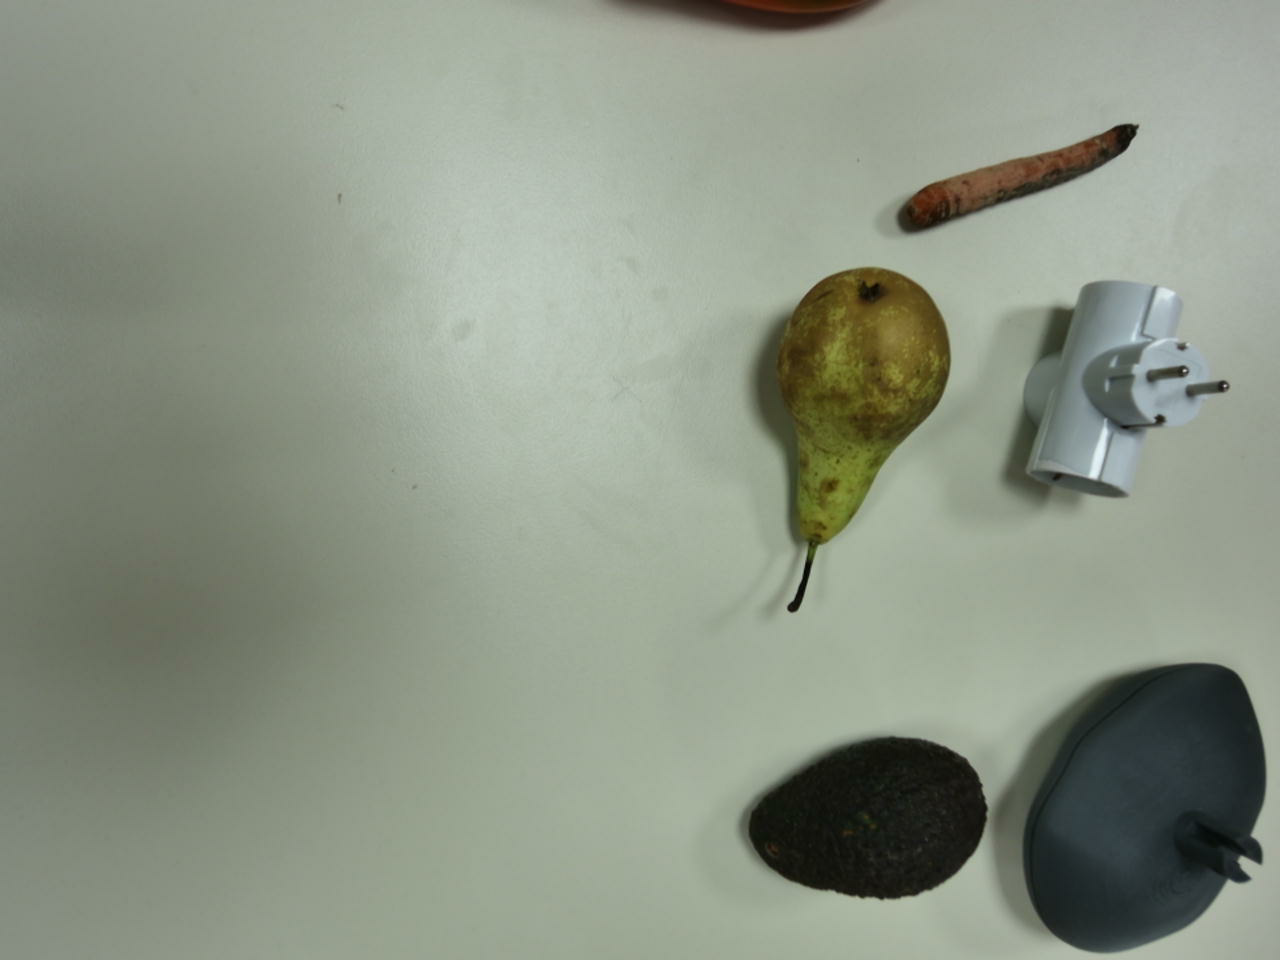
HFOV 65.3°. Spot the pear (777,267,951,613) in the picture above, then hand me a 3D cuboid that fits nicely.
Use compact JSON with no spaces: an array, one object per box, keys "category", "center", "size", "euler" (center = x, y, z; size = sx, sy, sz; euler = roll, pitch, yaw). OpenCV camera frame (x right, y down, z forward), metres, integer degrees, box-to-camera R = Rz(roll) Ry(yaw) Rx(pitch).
[{"category":"pear","center":[0.096,-0.017,0.425],"size":[0.071,0.075,0.144],"euler":[-3,91,-12]}]
